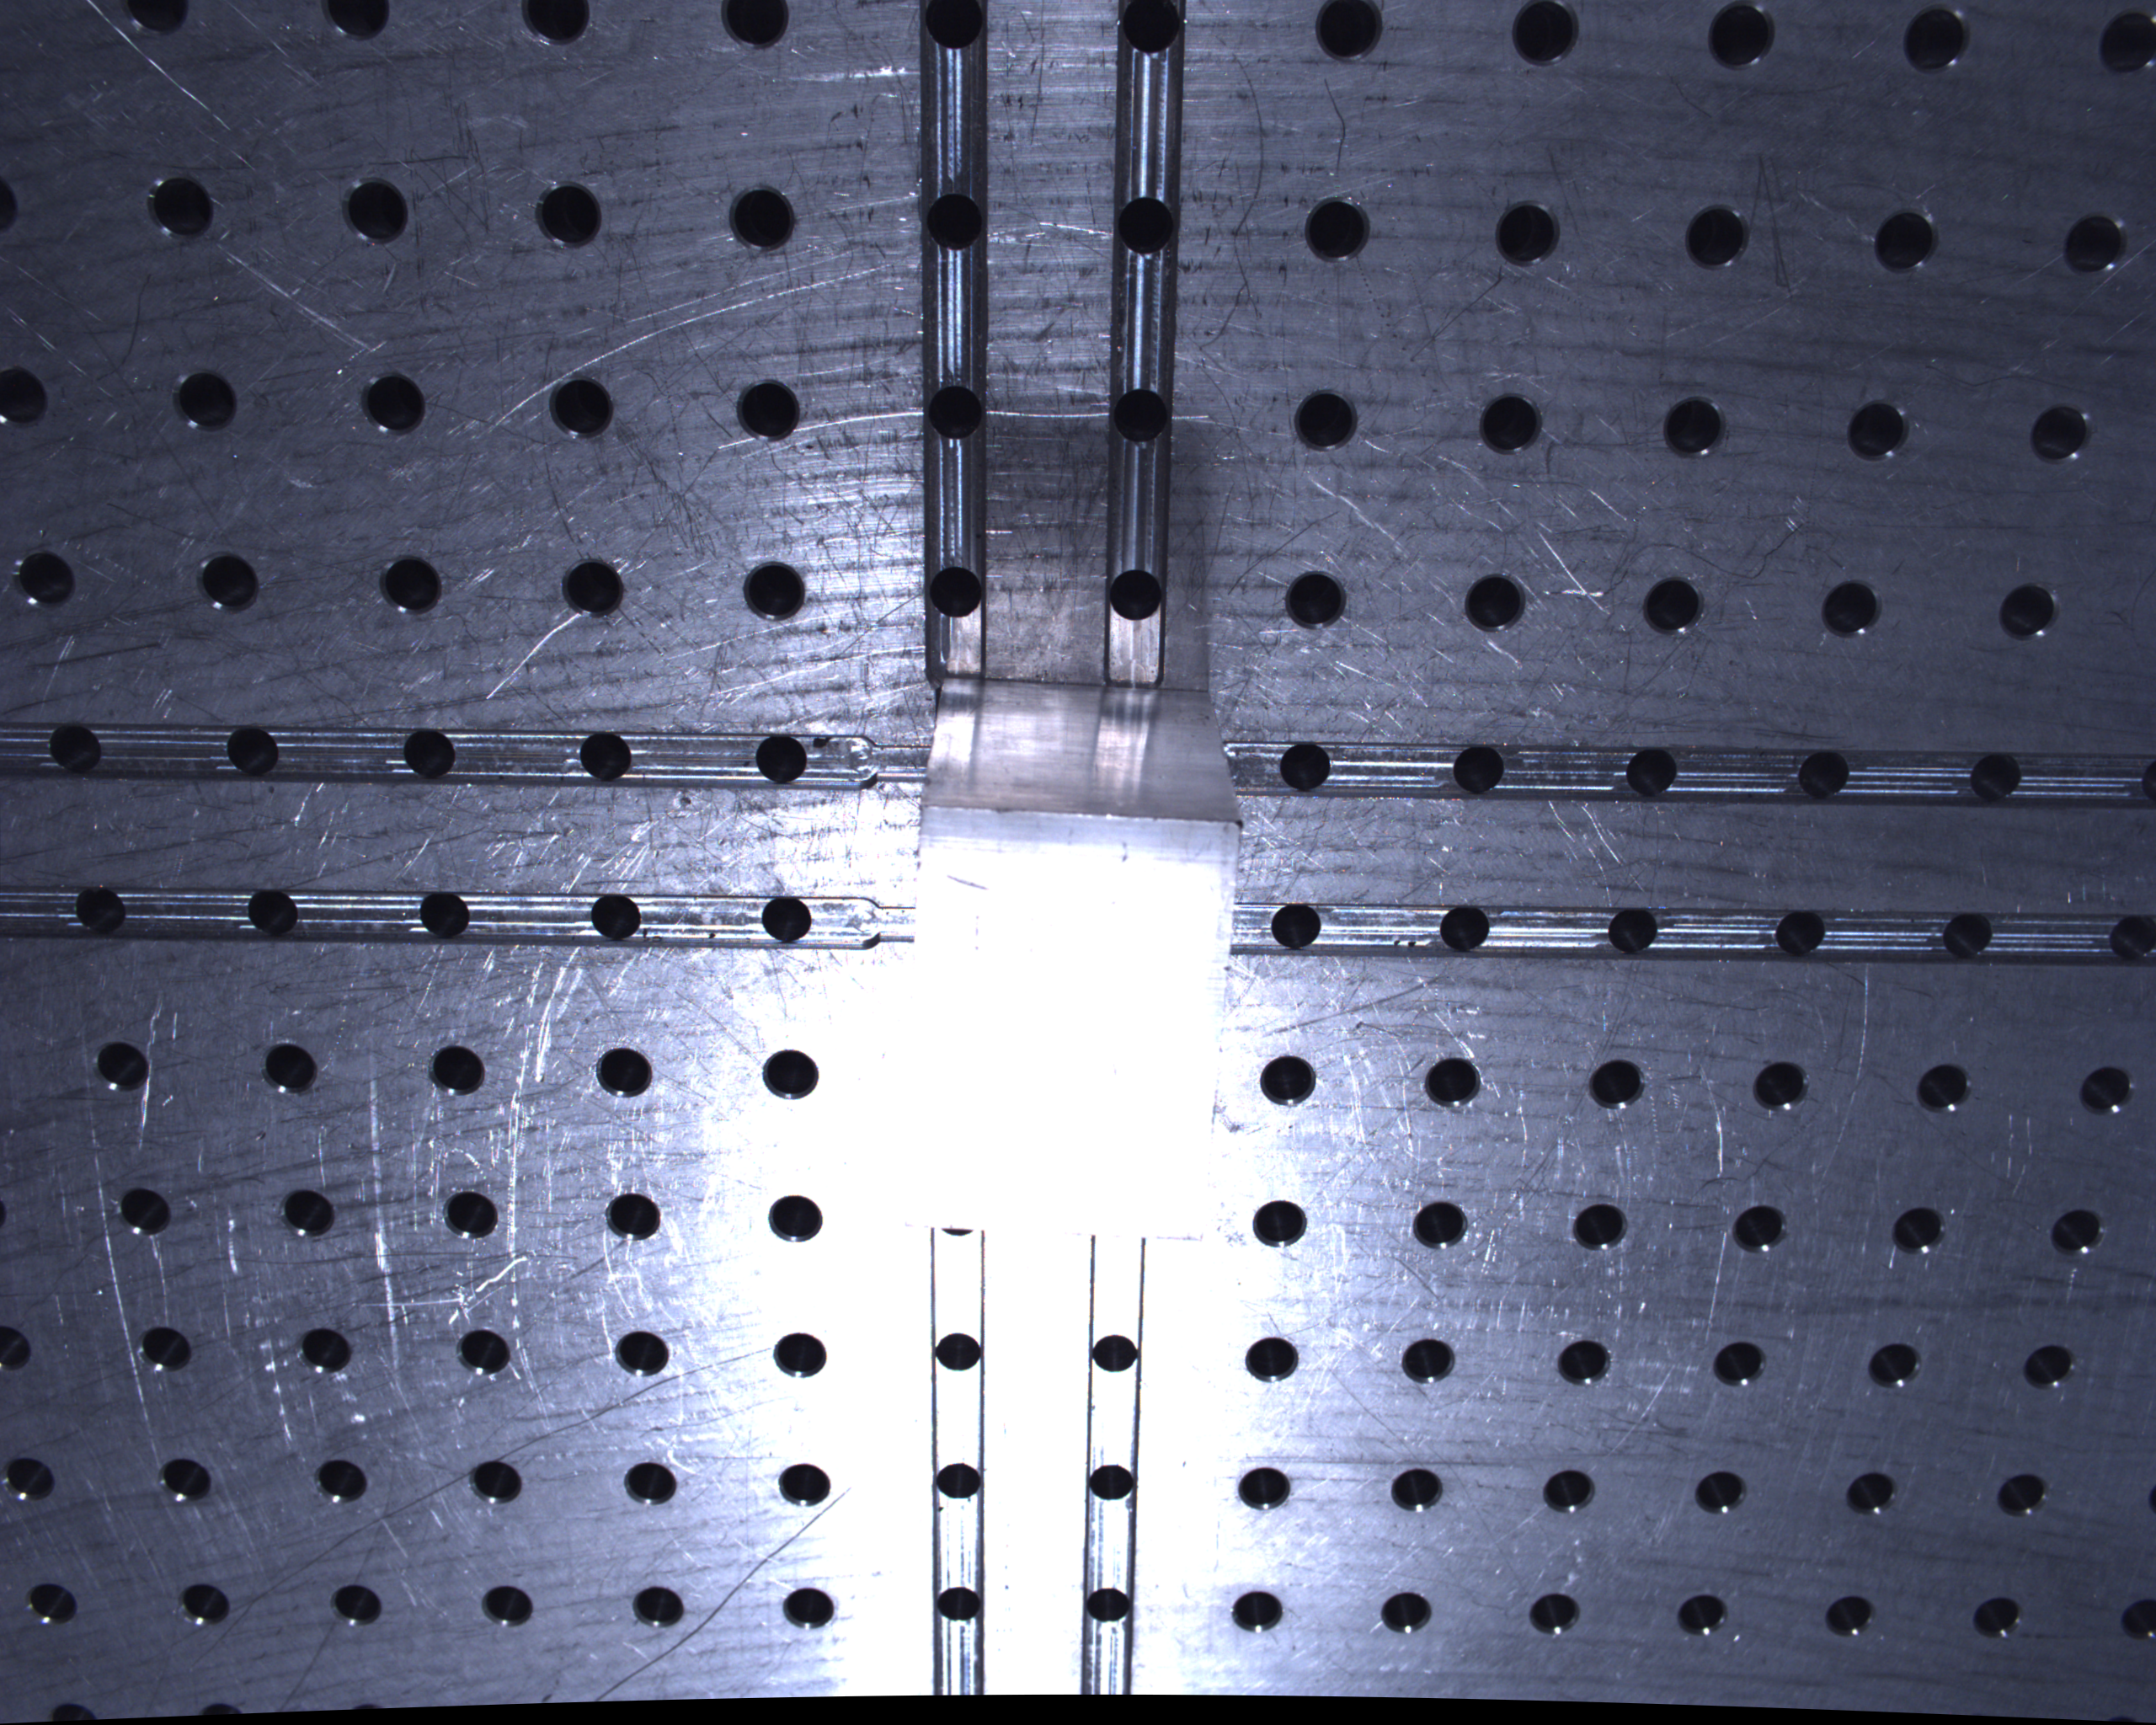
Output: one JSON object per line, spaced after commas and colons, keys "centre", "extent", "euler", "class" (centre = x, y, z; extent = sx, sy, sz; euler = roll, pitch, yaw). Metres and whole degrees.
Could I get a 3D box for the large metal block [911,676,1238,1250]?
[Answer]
{"centre": [-0.002, 0.016, 0.389], "extent": [0.050, 0.080, 0.079], "euler": [3, 110, -2], "class": "large metal block"}
